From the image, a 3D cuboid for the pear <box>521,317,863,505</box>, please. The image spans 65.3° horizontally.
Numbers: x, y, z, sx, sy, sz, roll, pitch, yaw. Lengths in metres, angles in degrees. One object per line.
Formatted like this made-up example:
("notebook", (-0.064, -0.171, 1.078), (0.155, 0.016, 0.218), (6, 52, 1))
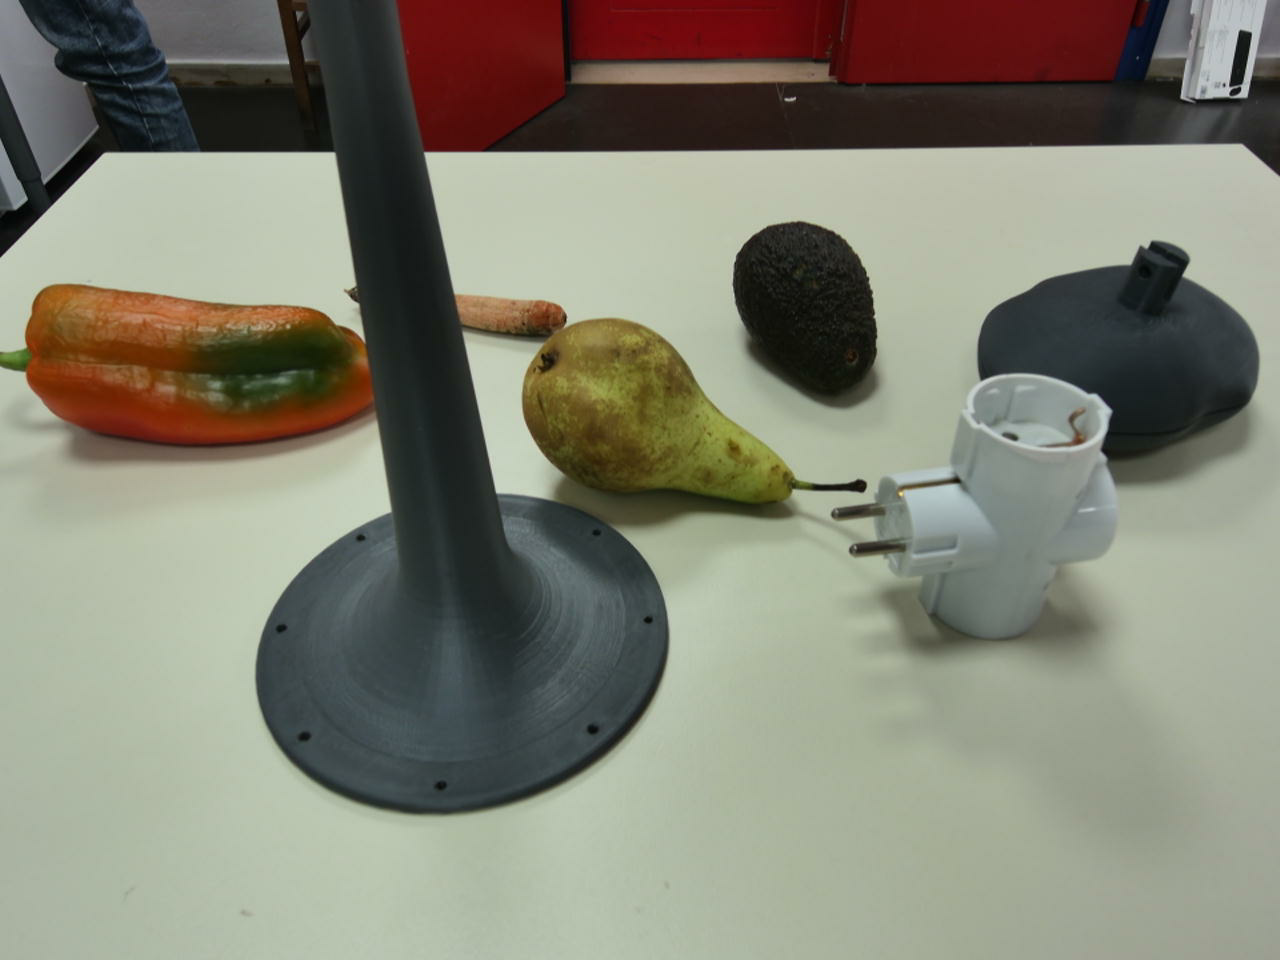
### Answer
("pear", (0.022, -0.029, 0.422), (0.144, 0.075, 0.071), (4, 39, 6))
